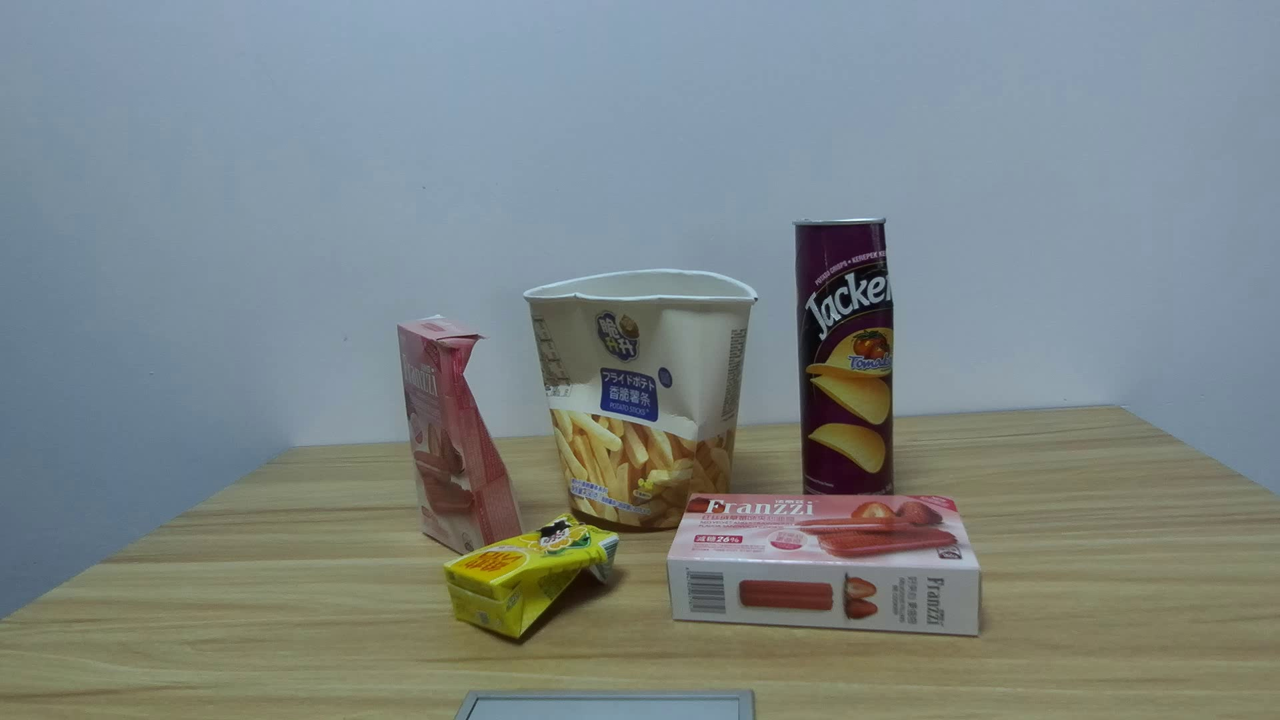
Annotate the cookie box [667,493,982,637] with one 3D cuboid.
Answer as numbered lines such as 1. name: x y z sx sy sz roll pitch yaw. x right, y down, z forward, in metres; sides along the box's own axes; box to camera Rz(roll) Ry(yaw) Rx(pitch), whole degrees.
1. cookie box: 0.117 0.129 0.467 0.184 0.048 0.096 -2 14 14

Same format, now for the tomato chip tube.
1. tomato chip tube: 0.167 0.003 0.578 0.076 0.235 0.078 -2 13 18

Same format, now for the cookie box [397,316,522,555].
1. cookie box: -0.147 0.063 0.572 0.056 0.184 0.118 -16 16 -36

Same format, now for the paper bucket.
1. paper bucket: 0.002 0.028 0.614 0.217 0.199 0.148 -2 14 14

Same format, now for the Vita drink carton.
1. Vita drink carton: -0.071 0.146 0.489 0.086 0.042 0.109 -2 8 44
